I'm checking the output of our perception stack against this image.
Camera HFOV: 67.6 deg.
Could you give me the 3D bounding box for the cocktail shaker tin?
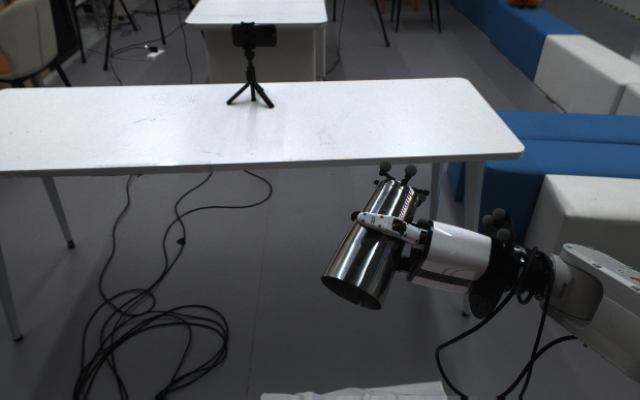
[{"bbox_3d":[0.081,0.054,0.684,0.093,0.093,0.170,18,66,21],"label":"cocktail shaker tin"}]
